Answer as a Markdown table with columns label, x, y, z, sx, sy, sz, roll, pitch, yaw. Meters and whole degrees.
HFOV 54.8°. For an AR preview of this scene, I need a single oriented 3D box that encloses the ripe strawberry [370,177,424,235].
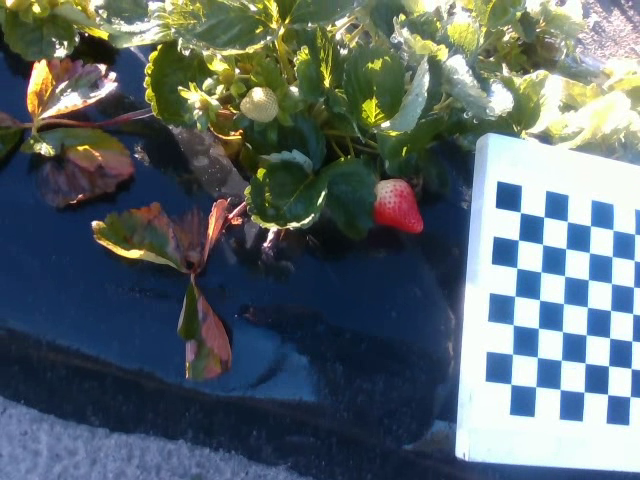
| label | x | y | z | sx | sy | sz | roll | pitch | yaw |
| --- | --- | --- | --- | --- | --- | --- | --- | --- | --- |
| ripe strawberry | 0.072 | -0.027 | 0.548 | 0.040 | 0.065 | 0.040 | -42 | 4 | -20 |
